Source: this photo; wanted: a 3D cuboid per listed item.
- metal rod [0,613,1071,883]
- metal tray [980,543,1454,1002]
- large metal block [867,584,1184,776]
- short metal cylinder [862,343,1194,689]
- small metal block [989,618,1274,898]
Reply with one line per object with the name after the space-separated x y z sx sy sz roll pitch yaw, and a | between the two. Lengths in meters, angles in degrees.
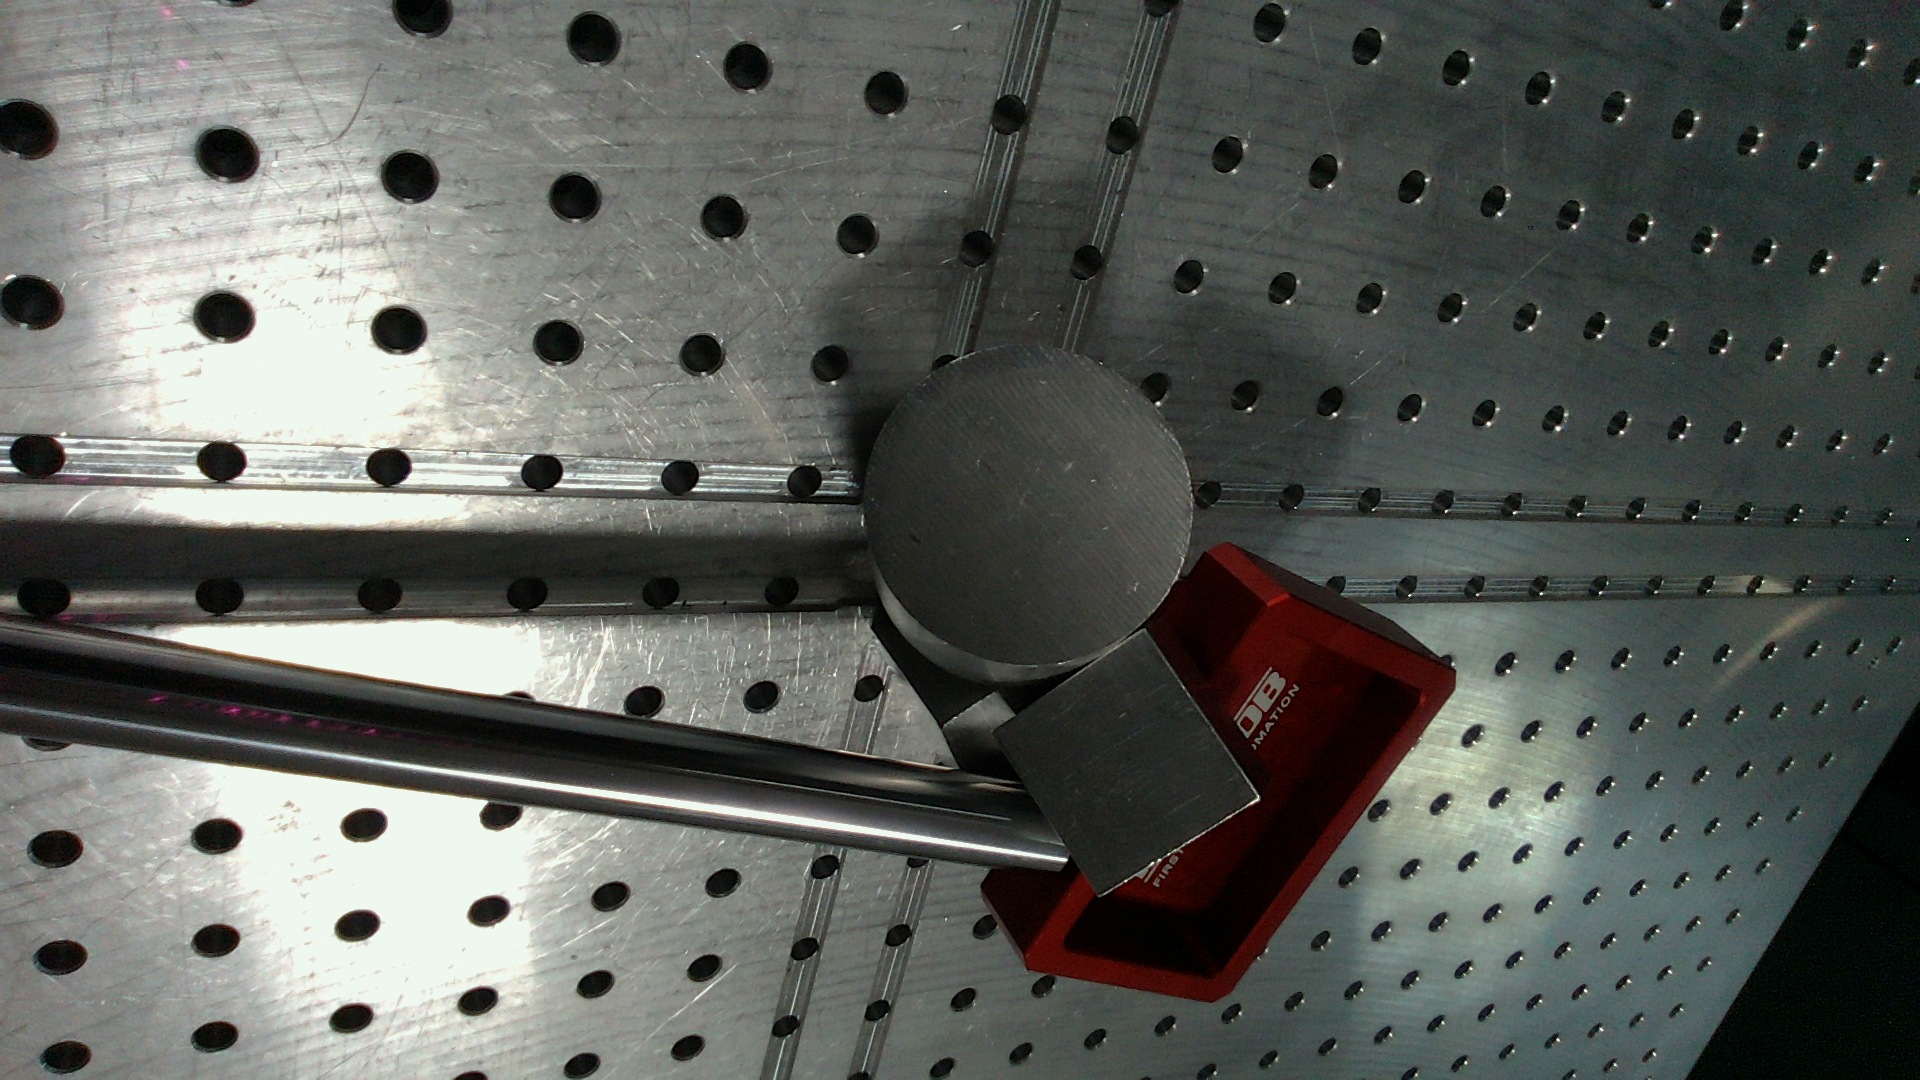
-0.109 0.050 0.326 0.301 0.025 0.025 13 112 -22 | metal rod
0.076 0.073 0.407 0.090 0.030 0.130 22 106 -36 | metal tray
0.030 0.046 0.419 0.080 0.050 0.080 -31 129 -8 | large metal block
0.016 -0.004 0.355 0.080 0.080 0.050 -31 171 -9 | short metal cylinder
0.045 0.056 0.357 0.050 0.050 0.025 -36 171 18 | small metal block
